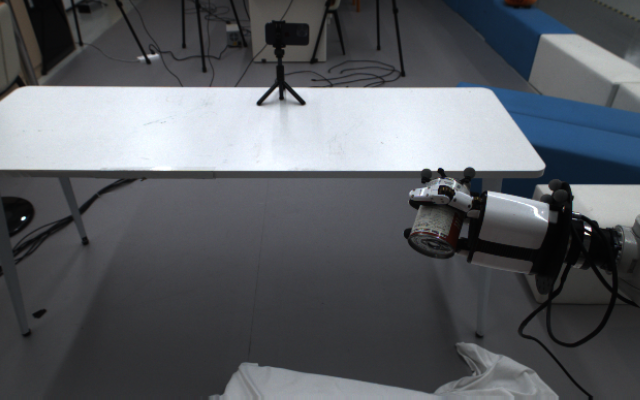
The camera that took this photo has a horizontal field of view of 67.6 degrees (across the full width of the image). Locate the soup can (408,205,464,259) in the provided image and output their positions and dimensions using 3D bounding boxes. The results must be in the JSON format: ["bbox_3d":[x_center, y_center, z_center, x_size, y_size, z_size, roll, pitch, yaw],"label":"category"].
[{"bbox_3d":[0.176,0.023,0.708,0.067,0.067,0.101,15,63,18],"label":"soup can"}]
